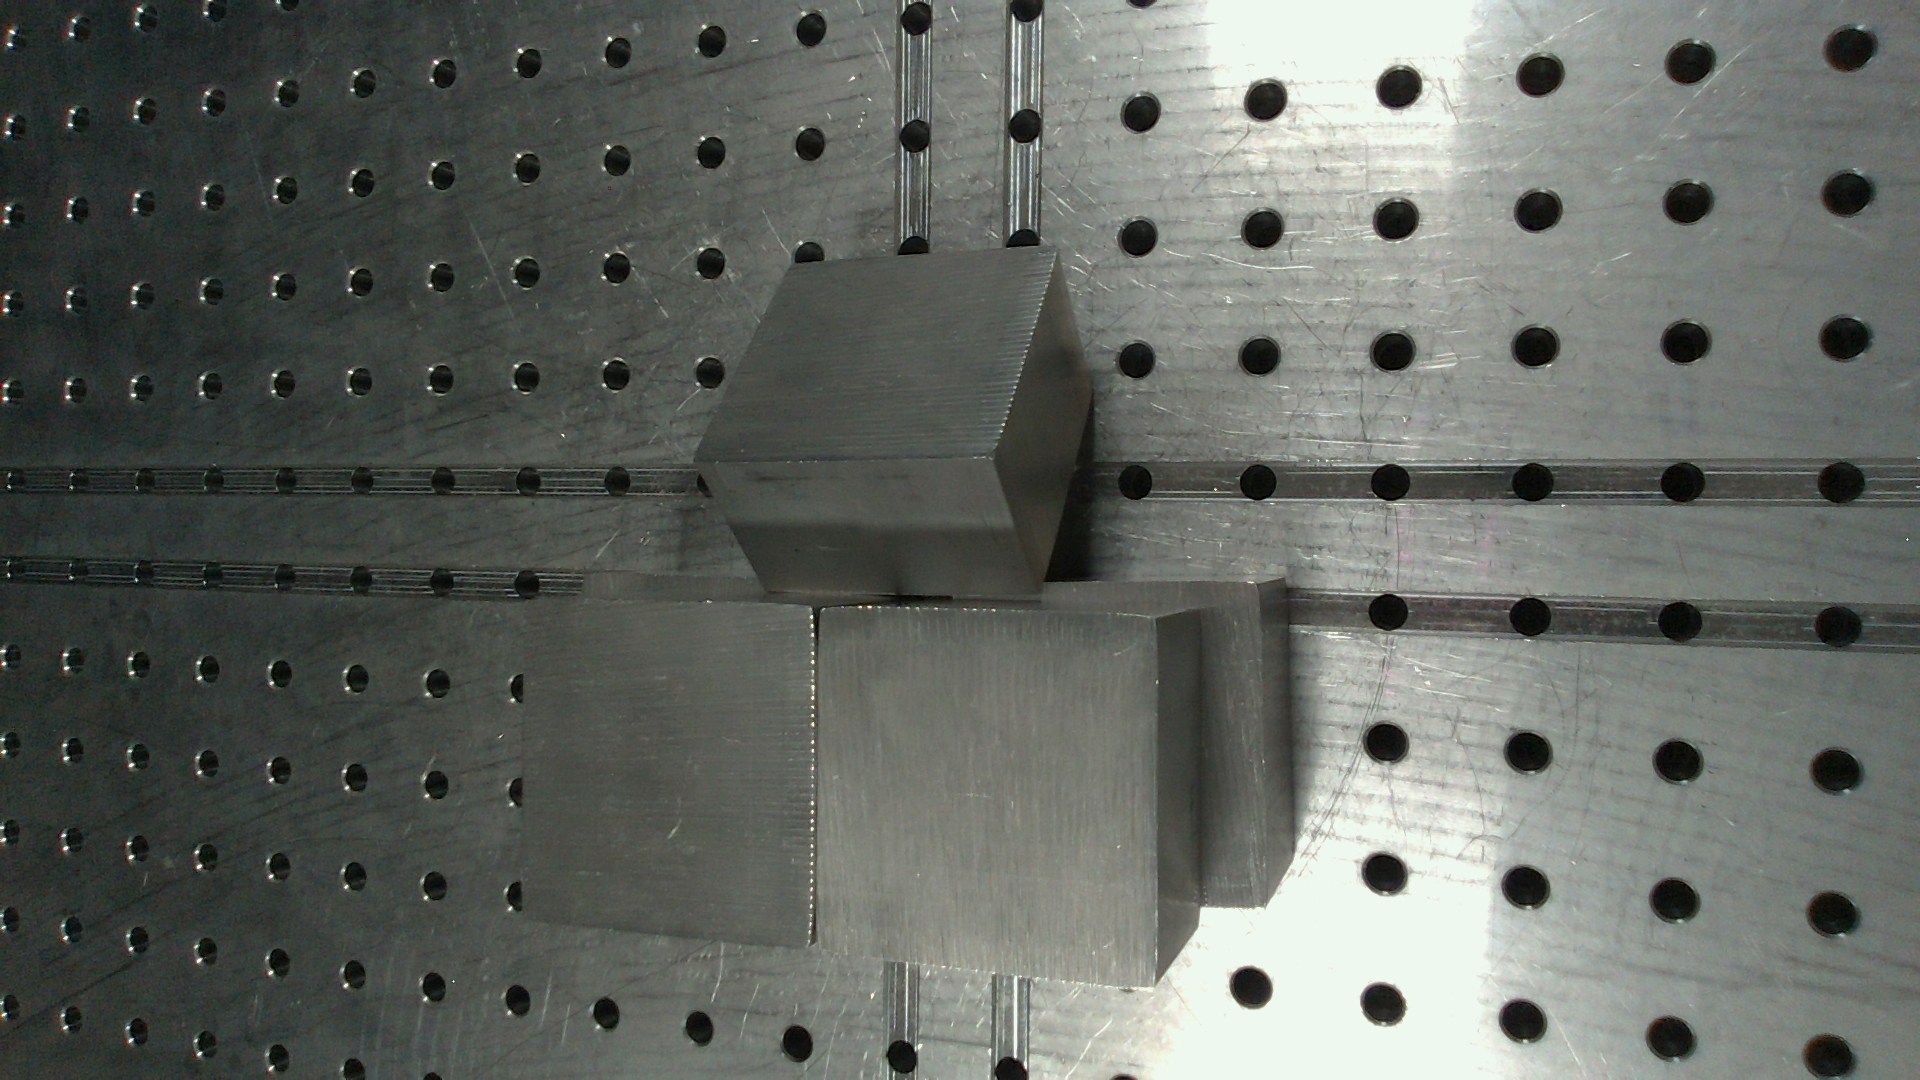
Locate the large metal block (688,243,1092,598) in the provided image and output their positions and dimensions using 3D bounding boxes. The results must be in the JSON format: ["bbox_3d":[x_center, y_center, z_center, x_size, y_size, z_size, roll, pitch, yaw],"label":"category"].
[{"bbox_3d":[-0.014,-0.032,0.368,0.080,0.050,0.080,0,48,20],"label":"large metal block"}]

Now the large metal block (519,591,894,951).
[{"bbox_3d":[-0.063,0.054,0.352,0.080,0.050,0.080,0,90,20],"label":"large metal block"}]

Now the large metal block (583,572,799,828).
[{"bbox_3d":[-0.064,0.050,0.409,0.080,0.050,0.080,1,91,20],"label":"large metal block"}]

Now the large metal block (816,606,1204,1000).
[{"bbox_3d":[0.013,0.056,0.325,0.080,0.050,0.080,0,90,20],"label":"large metal block"}]

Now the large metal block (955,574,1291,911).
[{"bbox_3d":[0.045,0.050,0.368,0.080,0.050,0.080,-1,90,20],"label":"large metal block"}]
